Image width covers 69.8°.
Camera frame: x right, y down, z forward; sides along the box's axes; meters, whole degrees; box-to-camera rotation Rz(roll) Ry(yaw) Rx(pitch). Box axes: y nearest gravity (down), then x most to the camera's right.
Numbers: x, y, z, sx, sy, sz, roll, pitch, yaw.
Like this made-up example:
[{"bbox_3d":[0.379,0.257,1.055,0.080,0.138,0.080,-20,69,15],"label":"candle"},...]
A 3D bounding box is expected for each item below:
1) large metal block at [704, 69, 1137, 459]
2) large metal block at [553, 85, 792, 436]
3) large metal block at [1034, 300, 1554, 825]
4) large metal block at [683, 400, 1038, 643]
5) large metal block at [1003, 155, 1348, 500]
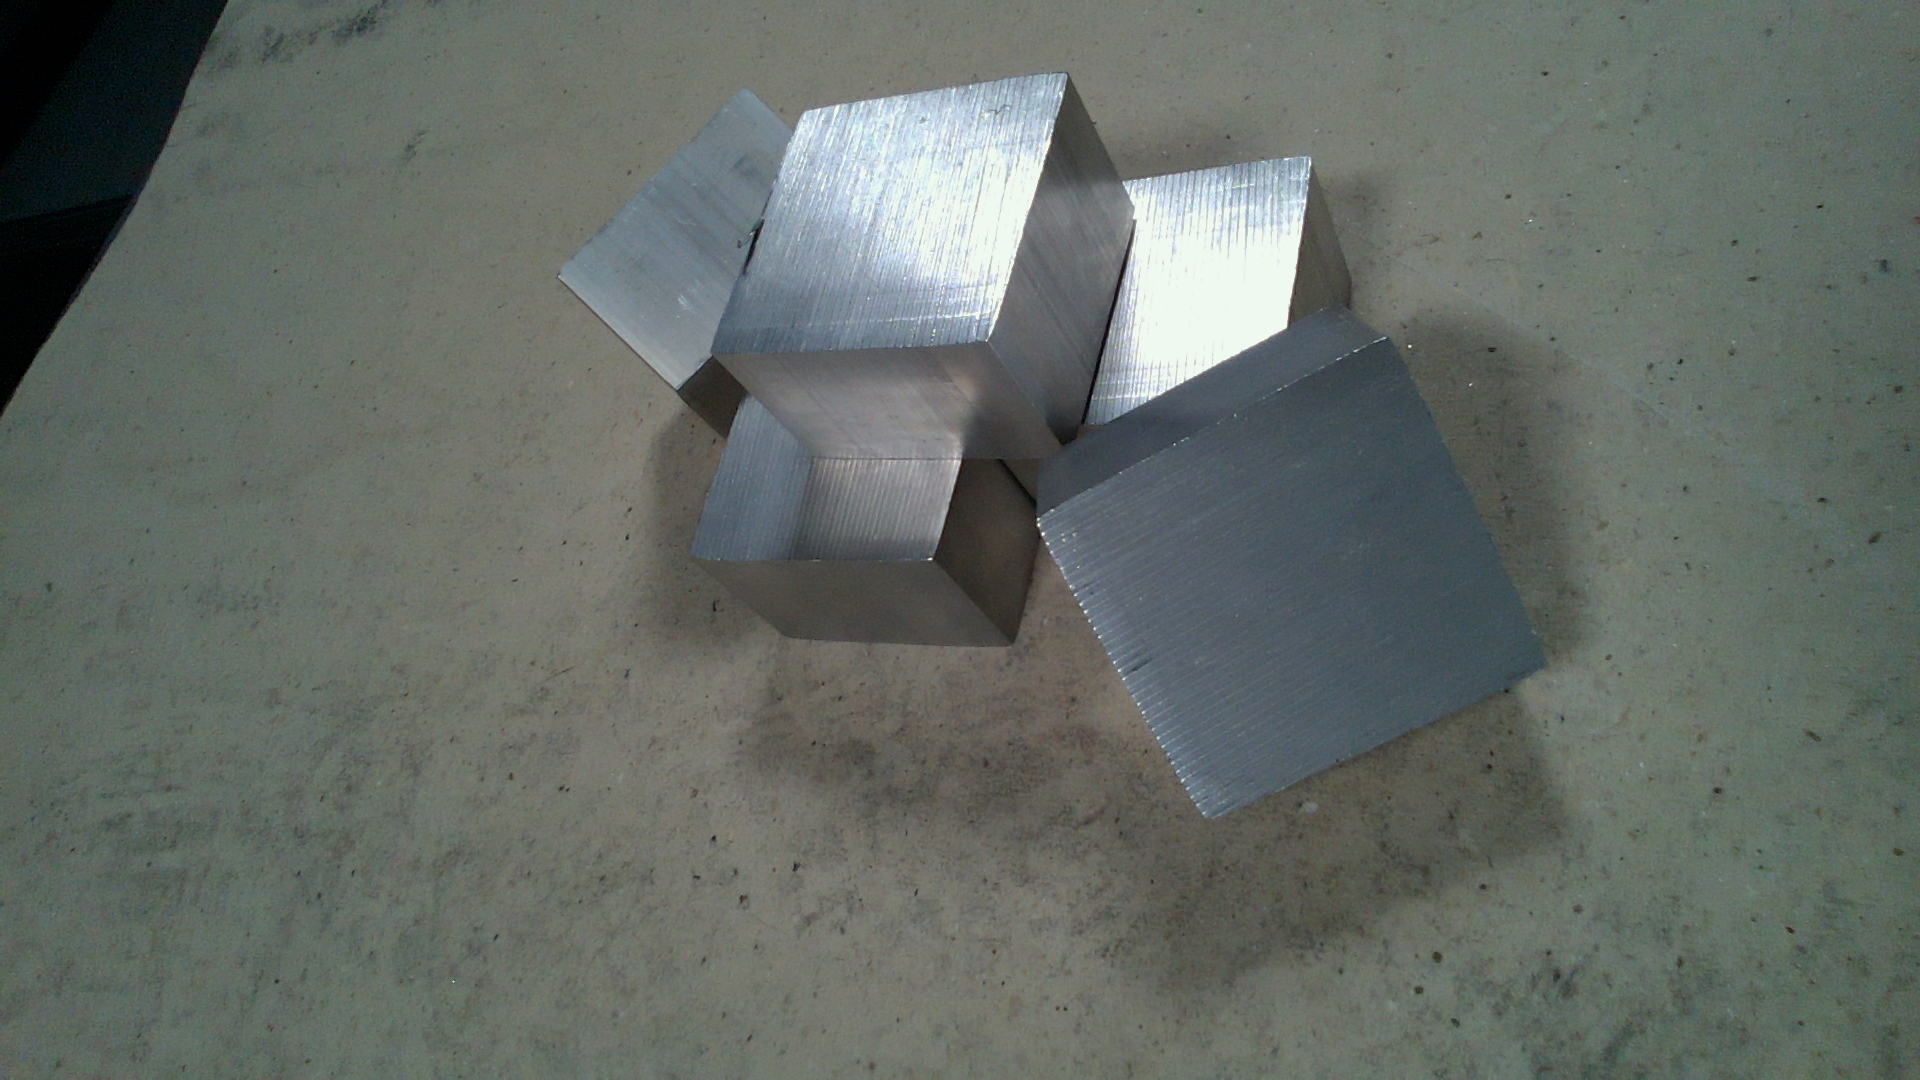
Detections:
[{"bbox_3d":[-0.008,-0.068,0.357,0.080,0.050,0.080,2,63,29],"label":"large metal block"},{"bbox_3d":[-0.071,-0.083,0.439,0.050,0.080,0.080,44,86,6],"label":"large metal block"},{"bbox_3d":[0.071,0.003,0.309,0.080,0.080,0.050,-28,14,11],"label":"large metal block"},{"bbox_3d":[-0.022,-0.018,0.399,0.080,0.050,0.080,0,62,29],"label":"large metal block"},{"bbox_3d":[0.058,-0.053,0.380,0.080,0.050,0.080,0,62,29],"label":"large metal block"}]
